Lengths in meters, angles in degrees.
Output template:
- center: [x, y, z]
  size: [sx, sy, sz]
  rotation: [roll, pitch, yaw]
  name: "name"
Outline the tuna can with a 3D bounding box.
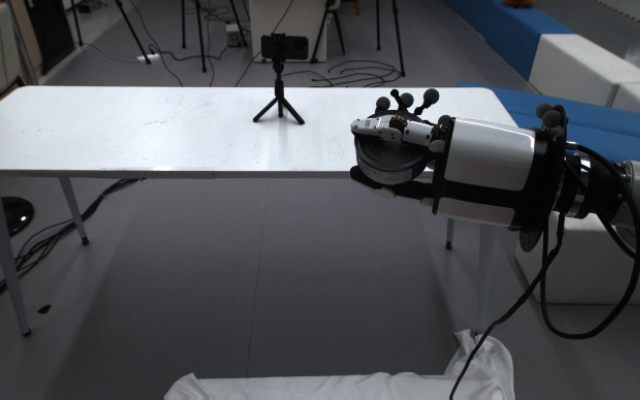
- center: [0.084, -0.064, 0.555]
  size: [0.085, 0.034, 0.085]
  rotation: [-4, 56, 6]
  name: "tuna can"
